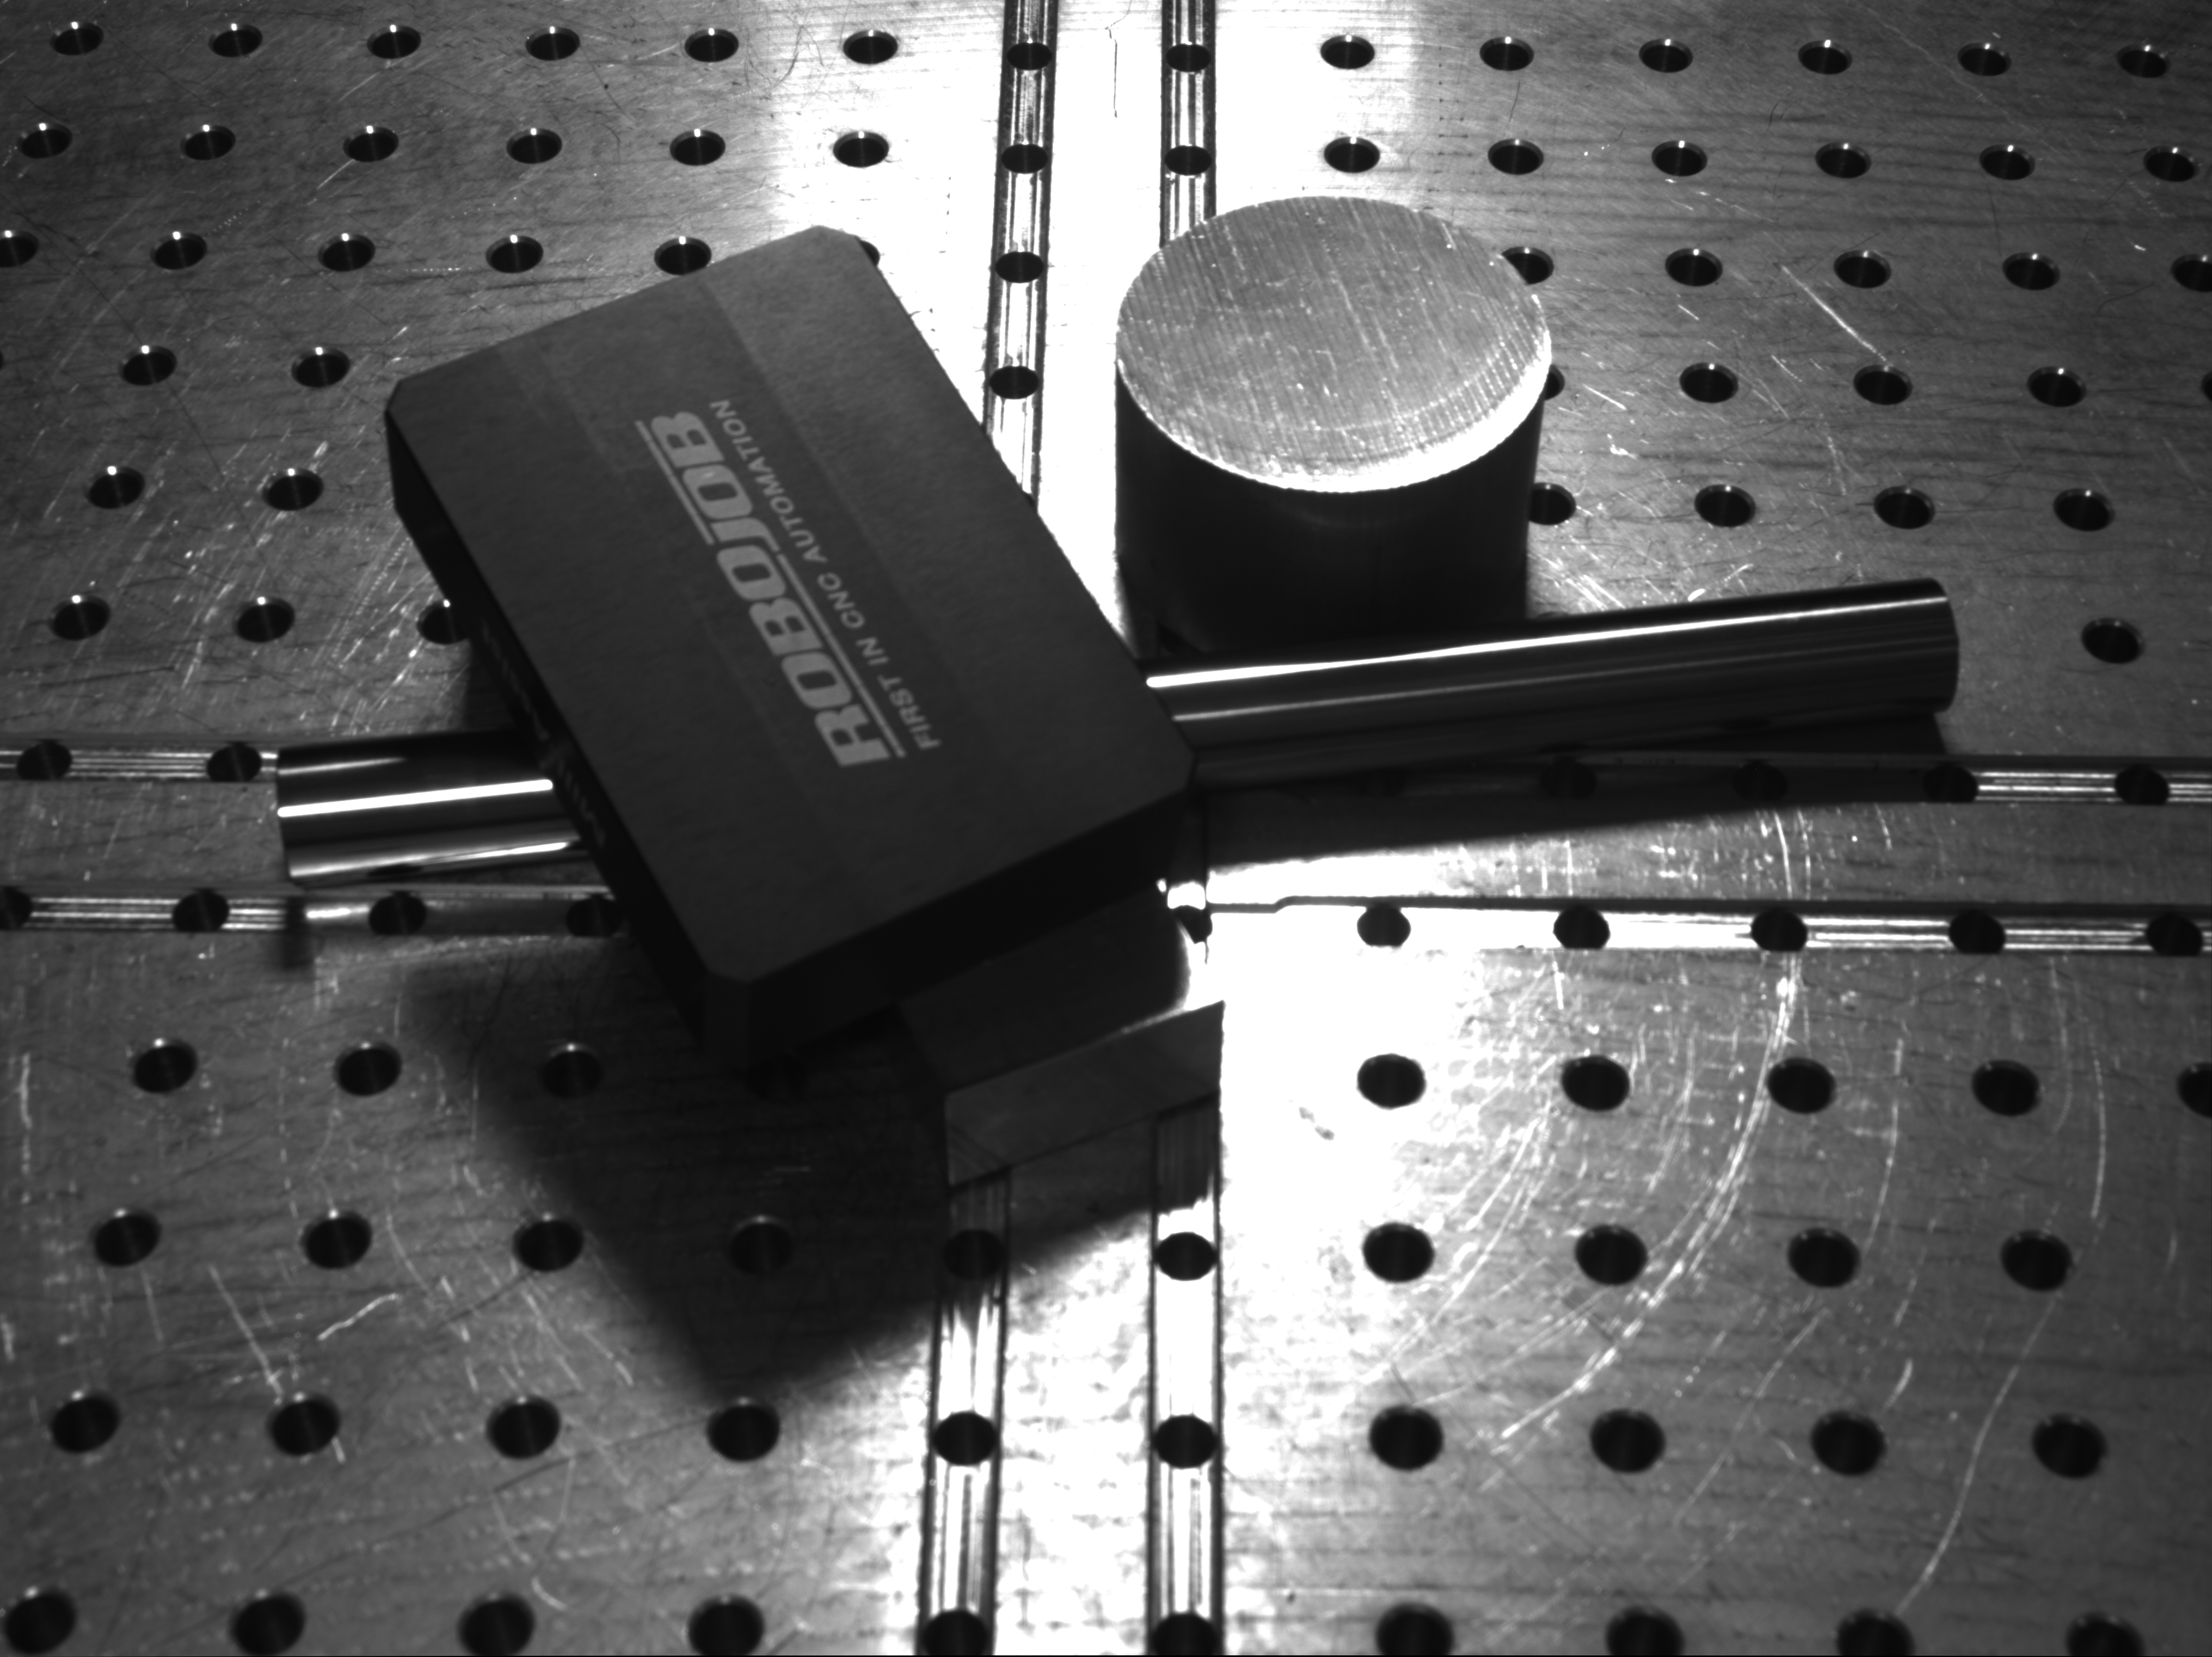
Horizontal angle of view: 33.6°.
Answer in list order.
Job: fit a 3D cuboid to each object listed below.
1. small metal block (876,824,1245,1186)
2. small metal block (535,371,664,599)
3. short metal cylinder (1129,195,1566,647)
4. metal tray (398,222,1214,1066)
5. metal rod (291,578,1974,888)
[{"bbox_3d":[-0.010,0.026,0.621,0.050,0.025,0.050,-18,52,-15],"label":"small metal block"},{"bbox_3d":[-0.089,-0.066,0.684,0.050,0.050,0.025,-25,54,-20],"label":"small metal block"},{"bbox_3d":[0.044,-0.074,0.691,0.080,0.050,0.080,0,50,0],"label":"short metal cylinder"},{"bbox_3d":[-0.052,-0.034,0.620,0.090,0.030,0.130,-24,65,-19],"label":"metal tray"},{"bbox_3d":[0.007,-0.018,0.660,0.300,0.025,0.025,-6,50,-5],"label":"metal rod"}]
